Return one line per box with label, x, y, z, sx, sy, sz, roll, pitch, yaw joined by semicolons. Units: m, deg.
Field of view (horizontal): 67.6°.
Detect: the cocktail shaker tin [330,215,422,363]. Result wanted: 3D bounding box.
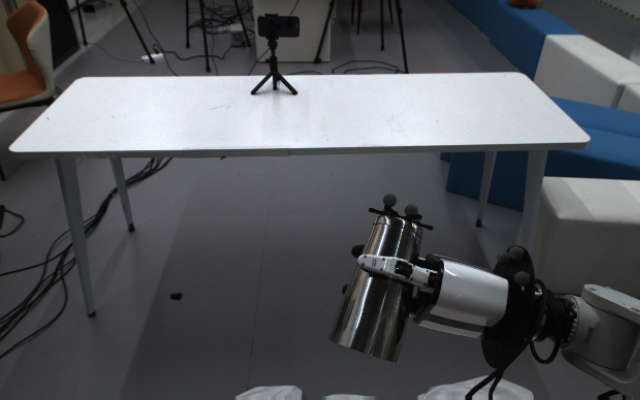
cocktail shaker tin;0.081;0.111;0.624;0.093;0.093;0.170;14;75;17
